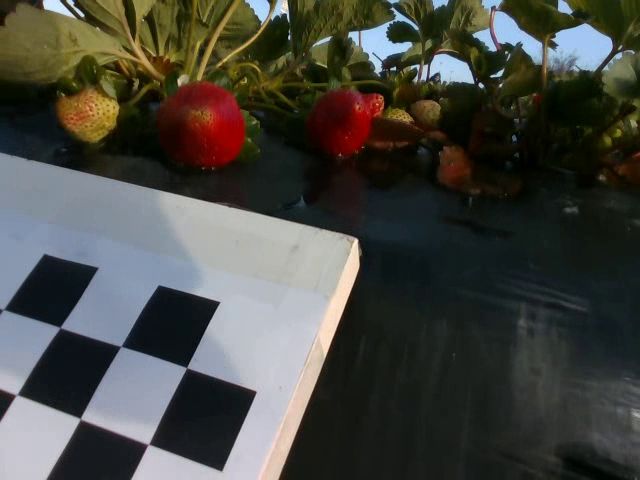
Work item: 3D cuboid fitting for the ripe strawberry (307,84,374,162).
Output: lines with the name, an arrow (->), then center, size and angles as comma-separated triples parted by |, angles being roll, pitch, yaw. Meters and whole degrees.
ripe strawberry -> 0.012, -0.069, 0.345 | 0.044, 0.042, 0.055 | -41, 10, -18

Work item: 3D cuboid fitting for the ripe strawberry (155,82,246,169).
ripe strawberry -> -0.063, -0.063, 0.303 | 0.050, 0.050, 0.065 | -21, 1, -5
